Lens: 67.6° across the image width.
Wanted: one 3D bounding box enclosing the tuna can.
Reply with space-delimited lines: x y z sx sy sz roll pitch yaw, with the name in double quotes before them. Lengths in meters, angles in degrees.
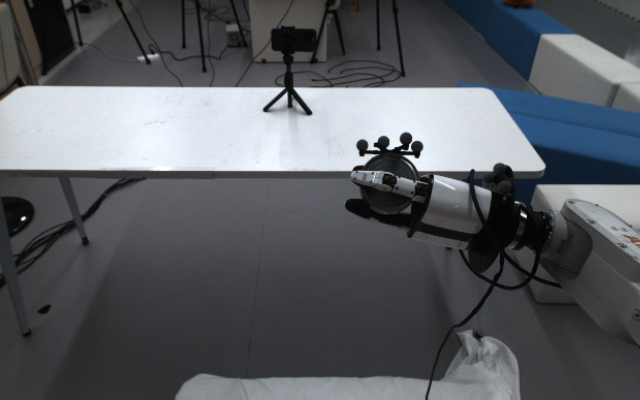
"tuna can" 0.100 -0.023 0.699 0.085 0.034 0.085 -1 76 4
